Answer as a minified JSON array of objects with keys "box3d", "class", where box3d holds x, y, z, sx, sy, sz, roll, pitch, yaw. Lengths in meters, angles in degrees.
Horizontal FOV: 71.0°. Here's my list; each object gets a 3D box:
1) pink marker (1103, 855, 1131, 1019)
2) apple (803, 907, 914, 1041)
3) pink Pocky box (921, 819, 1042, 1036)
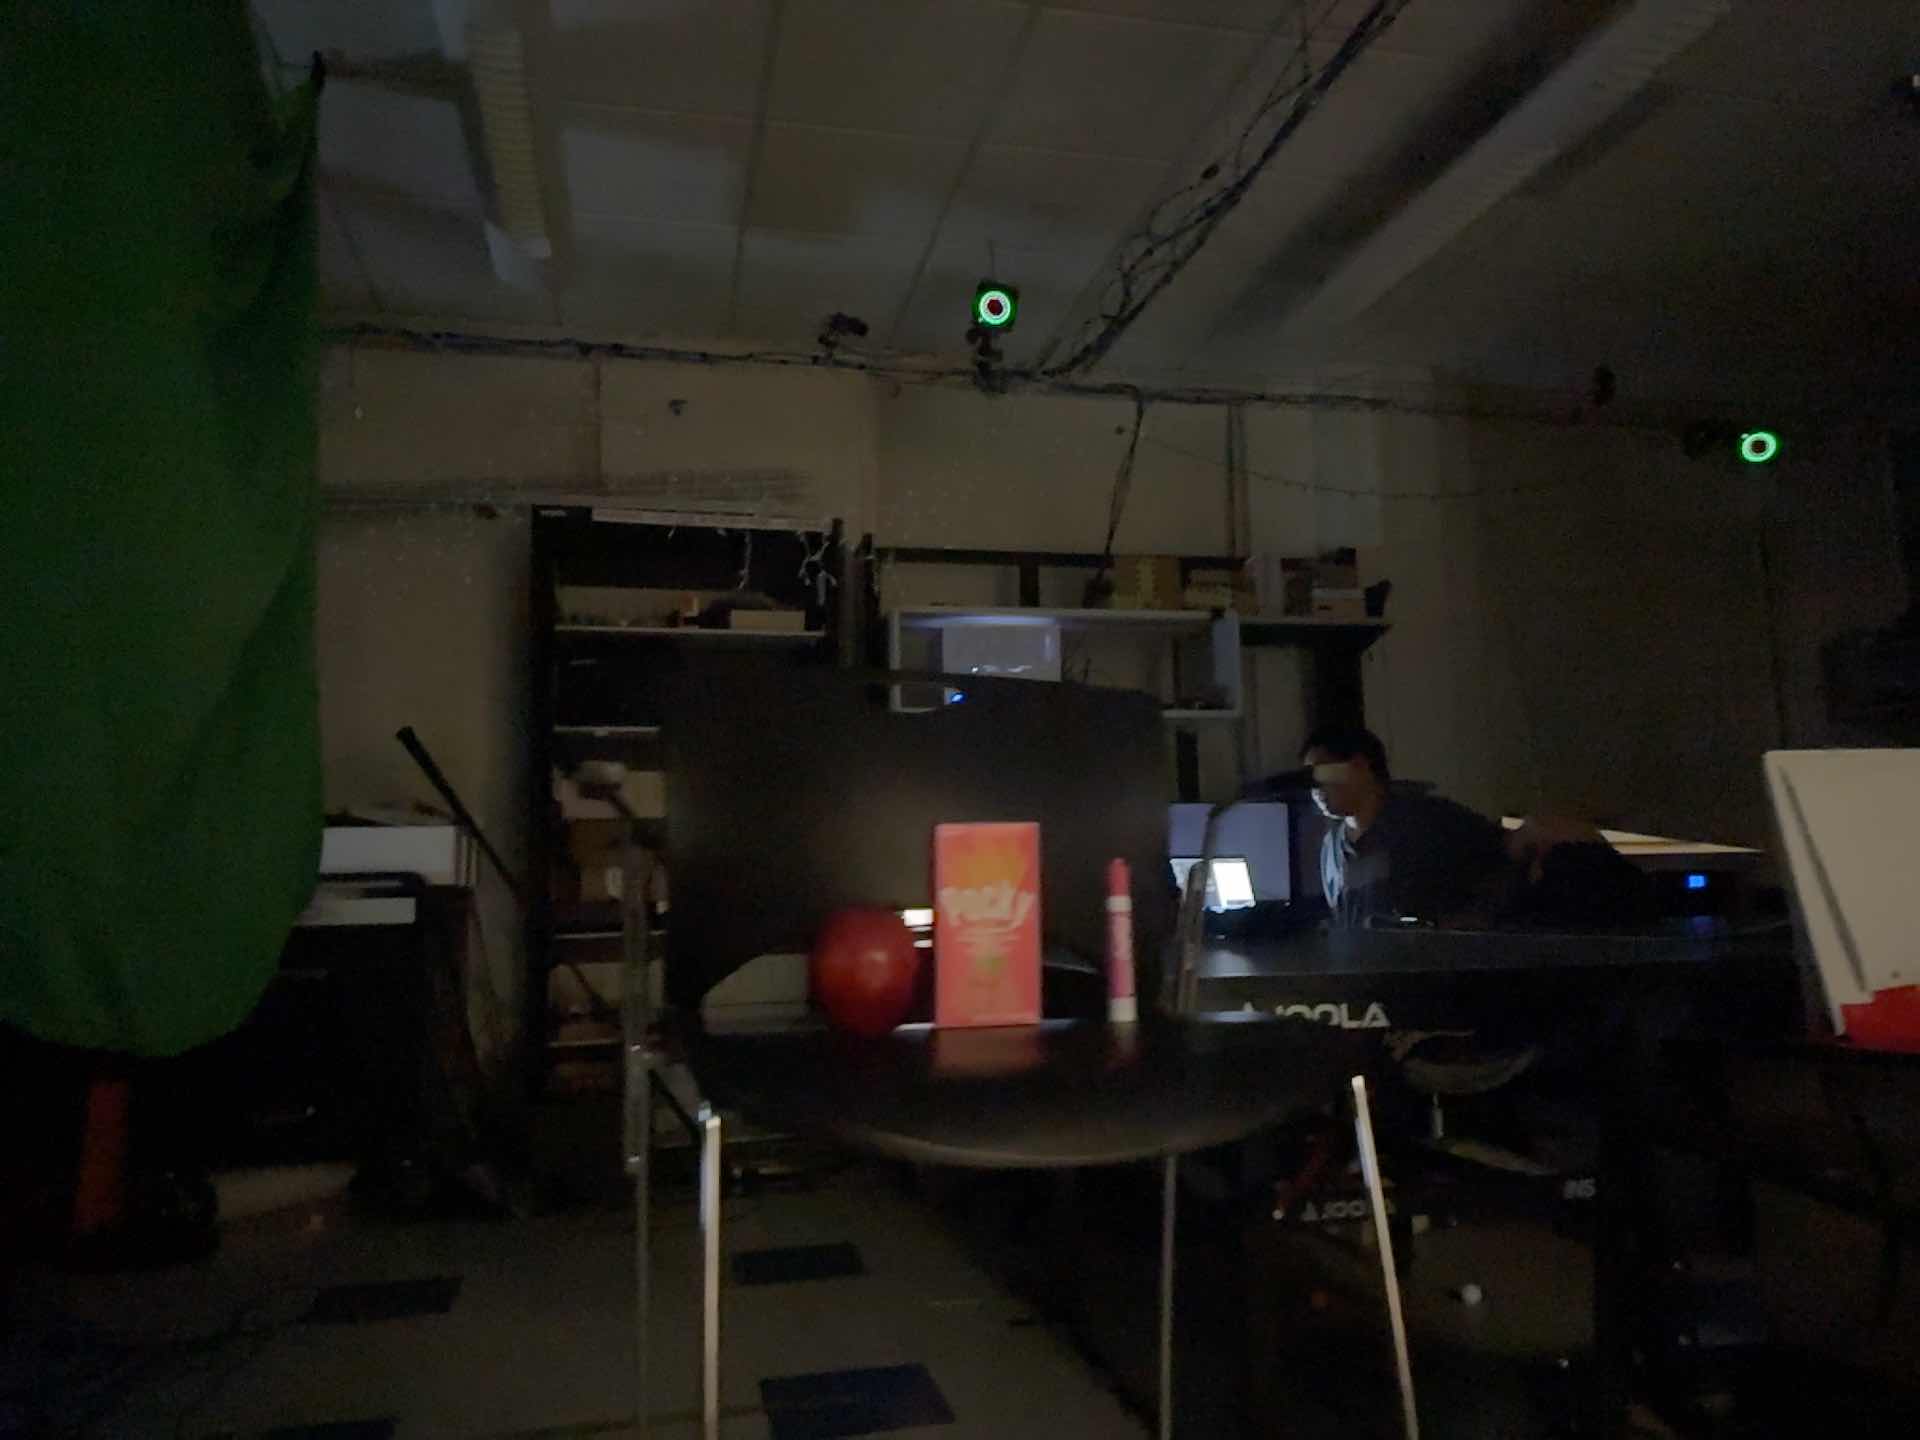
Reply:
[{"box3d":[0.118,0.162,1.013,0.020,0.121,0.020,0,-7,0],"class":"pink marker"},{"box3d":[-0.072,0.179,0.956,0.079,0.093,0.079,-1,-11,0],"class":"apple"},{"box3d":[0.016,0.150,0.988,0.084,0.155,0.029,2,-5,-15],"class":"pink Pocky box"}]
